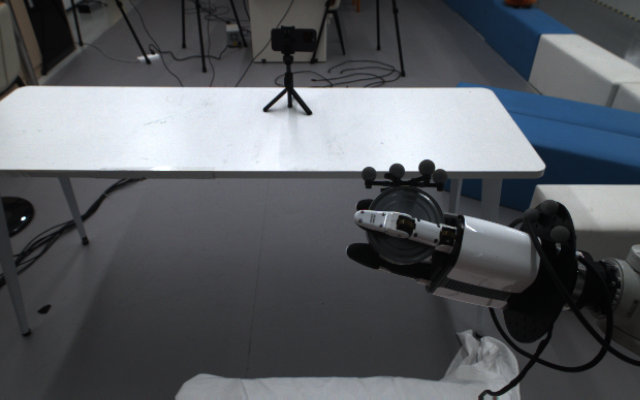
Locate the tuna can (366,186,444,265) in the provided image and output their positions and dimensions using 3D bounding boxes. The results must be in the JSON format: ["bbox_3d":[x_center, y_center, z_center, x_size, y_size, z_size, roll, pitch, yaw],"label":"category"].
[{"bbox_3d":[0.094,0.027,0.538,0.085,0.034,0.085,-1,75,4],"label":"tuna can"}]
